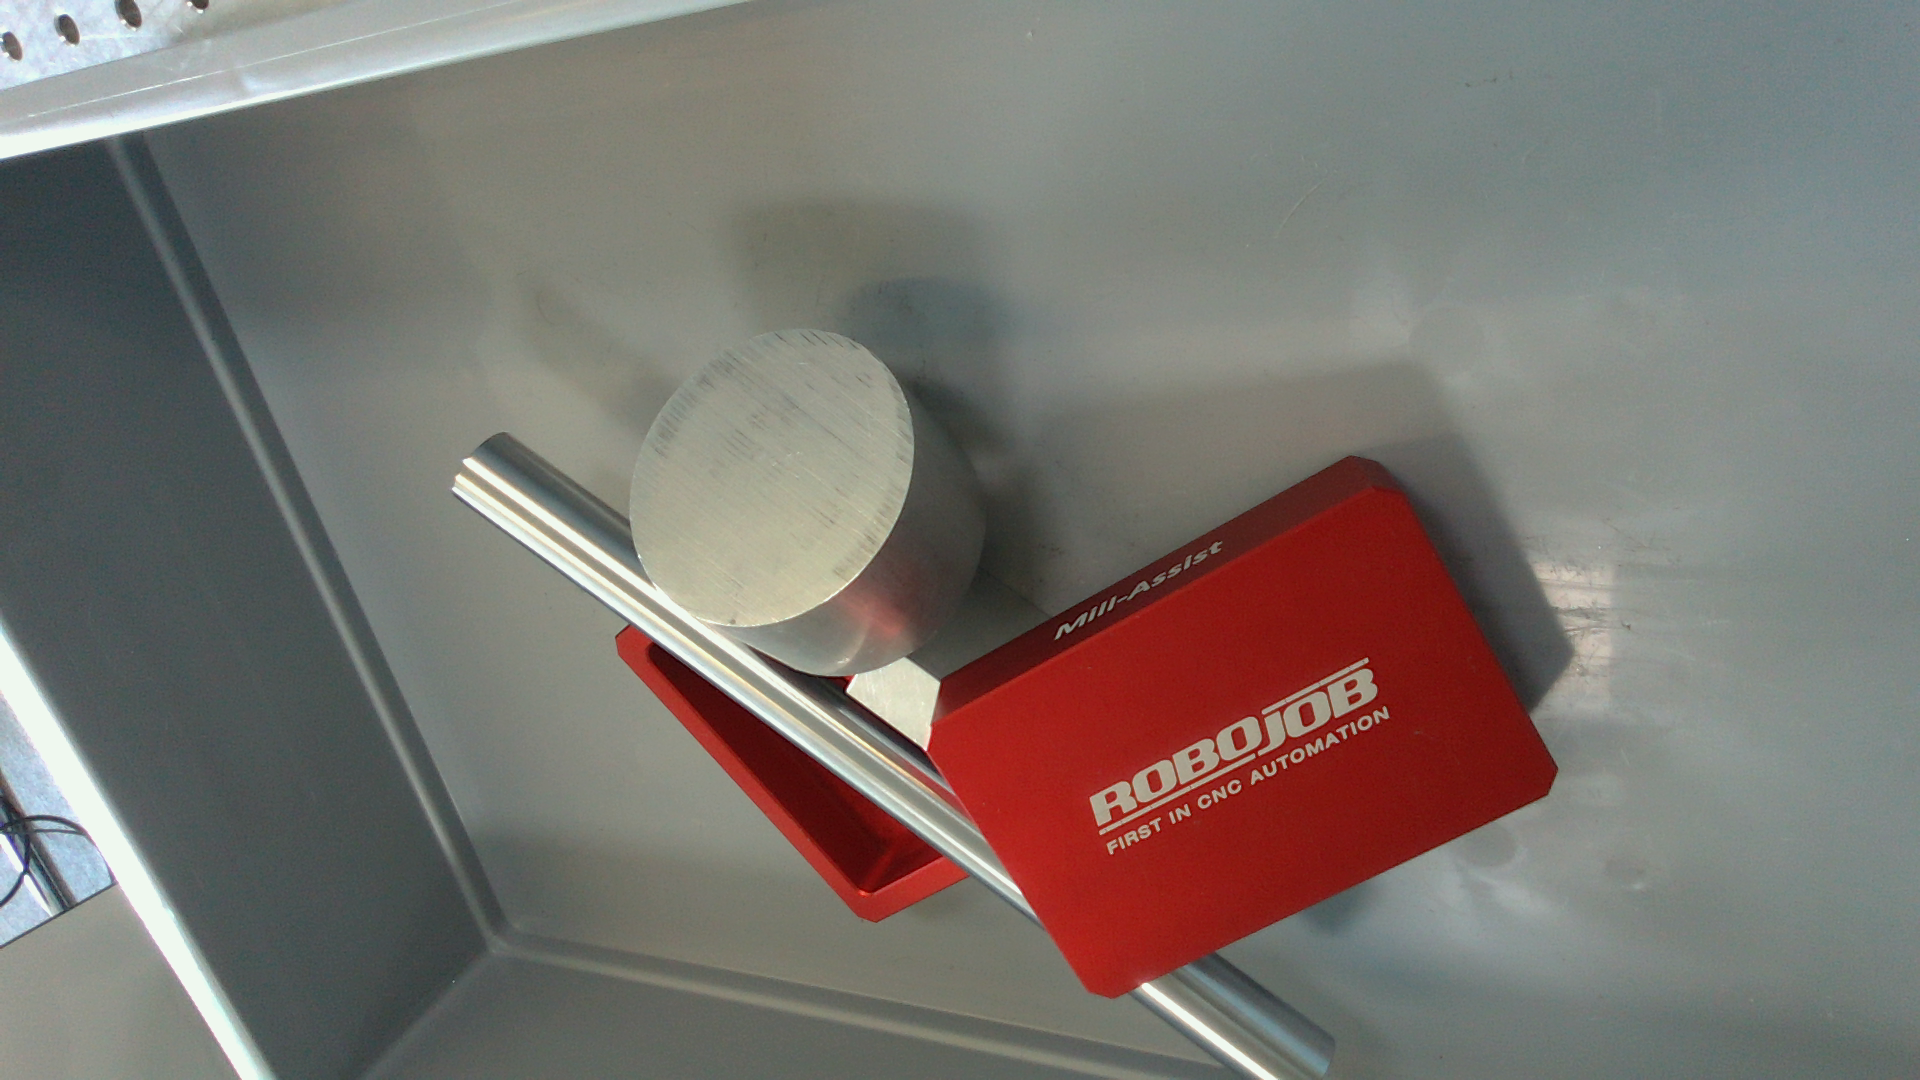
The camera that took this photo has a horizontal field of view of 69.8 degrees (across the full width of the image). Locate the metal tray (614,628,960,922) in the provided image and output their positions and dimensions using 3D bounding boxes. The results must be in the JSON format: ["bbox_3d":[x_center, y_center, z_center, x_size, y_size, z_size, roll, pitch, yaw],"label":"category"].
[{"bbox_3d":[-0.040,0.055,0.443,0.130,0.030,0.090,49,129,-6],"label":"metal tray"}]

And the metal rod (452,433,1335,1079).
[{"bbox_3d":[-0.022,0.064,0.404,0.300,0.025,0.025,35,129,4],"label":"metal rod"}]

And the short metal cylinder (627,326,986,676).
[{"bbox_3d":[-0.039,-0.009,0.363,0.080,0.080,0.050,8,164,24],"label":"short metal cylinder"}]

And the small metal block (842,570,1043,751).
[{"bbox_3d":[0.003,0.038,0.396,0.050,0.050,0.025,35,129,5],"label":"small metal block"}]

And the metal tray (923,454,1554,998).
[{"bbox_3d":[0.068,0.049,0.349,0.130,0.030,0.090,-30,103,13],"label":"metal tray"}]
